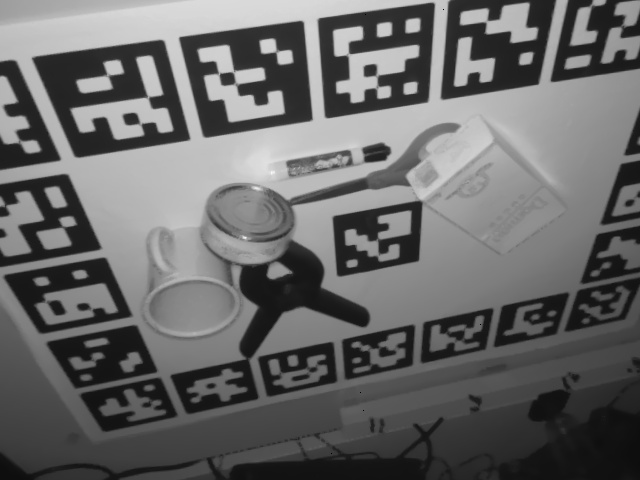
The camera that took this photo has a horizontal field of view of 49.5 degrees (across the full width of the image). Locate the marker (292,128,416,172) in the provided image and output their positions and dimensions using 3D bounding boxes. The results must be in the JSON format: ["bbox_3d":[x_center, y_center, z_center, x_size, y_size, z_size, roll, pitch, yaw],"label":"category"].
[{"bbox_3d":[0.033,-0.087,0.671,0.121,0.020,0.019,-13,132,-4],"label":"marker"}]

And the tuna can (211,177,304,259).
[{"bbox_3d":[-0.058,-0.023,0.660,0.086,0.086,0.033,3,131,-16],"label":"tuna can"}]

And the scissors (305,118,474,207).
[{"bbox_3d":[0.082,-0.064,0.702,0.202,0.016,0.087,-17,137,3],"label":"scissors"}]

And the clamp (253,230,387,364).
[{"bbox_3d":[-0.022,0.054,0.785,0.165,0.037,0.202,-18,132,2],"label":"clamp"}]

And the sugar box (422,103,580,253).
[{"bbox_3d":[0.192,-0.055,0.716,0.092,0.045,0.178,-38,135,20],"label":"sugar box"}]

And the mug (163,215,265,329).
[{"bbox_3d":[-0.113,0.023,0.693,0.092,0.082,0.117,-31,134,14],"label":"mug"}]
